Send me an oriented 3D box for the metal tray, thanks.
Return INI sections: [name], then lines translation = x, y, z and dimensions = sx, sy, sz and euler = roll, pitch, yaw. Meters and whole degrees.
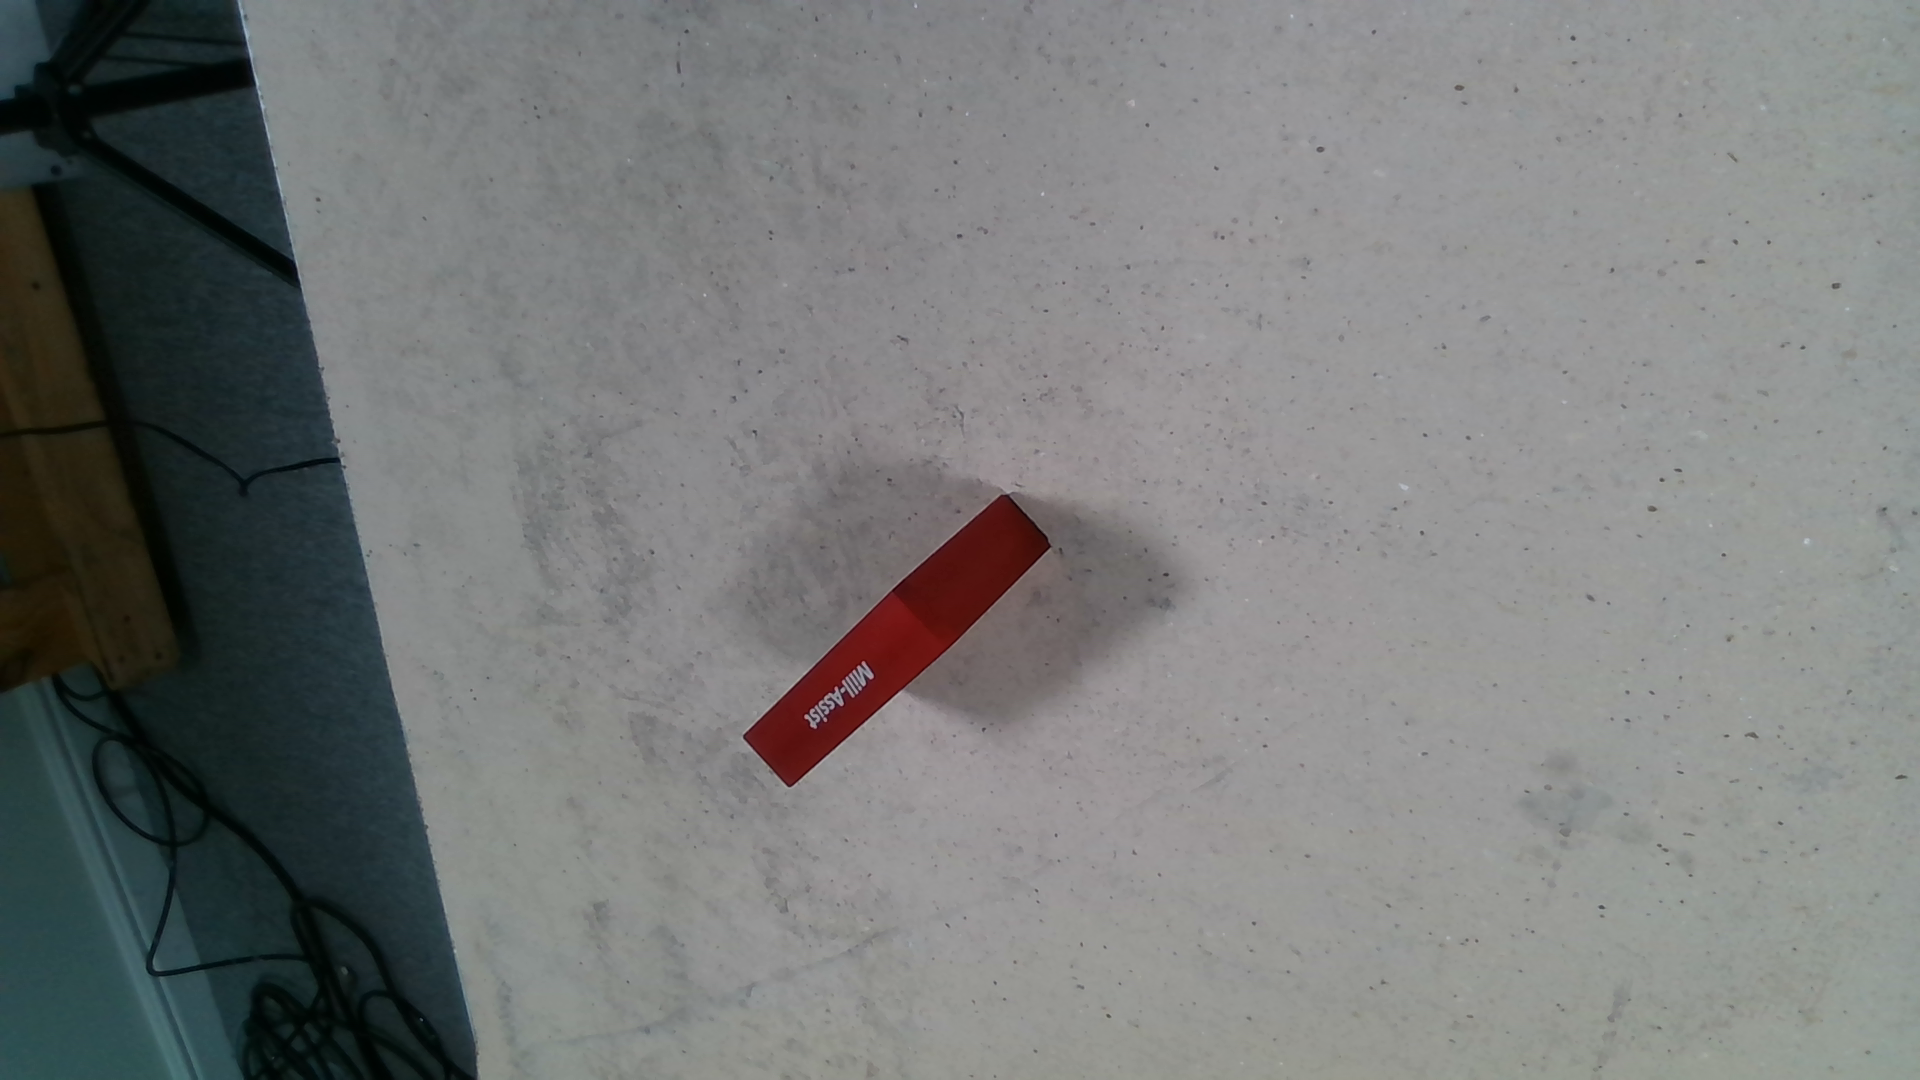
[metal tray]
translation = -0.028, 0.043, 0.579
dimensions = 0.030, 0.090, 0.130
euler = 47, 129, 1
